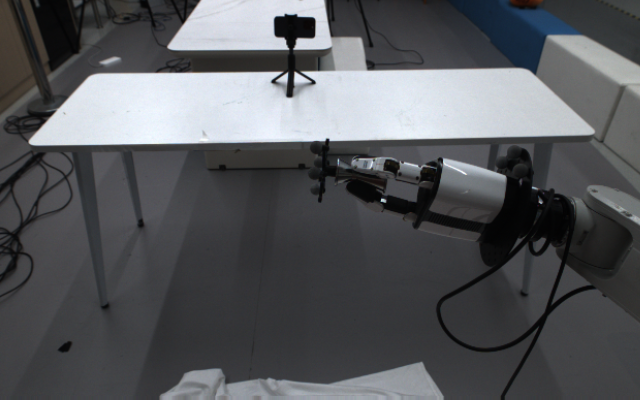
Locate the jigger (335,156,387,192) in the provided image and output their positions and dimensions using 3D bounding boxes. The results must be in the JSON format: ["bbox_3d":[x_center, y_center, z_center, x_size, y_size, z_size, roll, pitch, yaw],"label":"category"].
[{"bbox_3d":[0.063,-0.039,0.654,0.071,0.043,0.043,5,35,3],"label":"jigger"}]
